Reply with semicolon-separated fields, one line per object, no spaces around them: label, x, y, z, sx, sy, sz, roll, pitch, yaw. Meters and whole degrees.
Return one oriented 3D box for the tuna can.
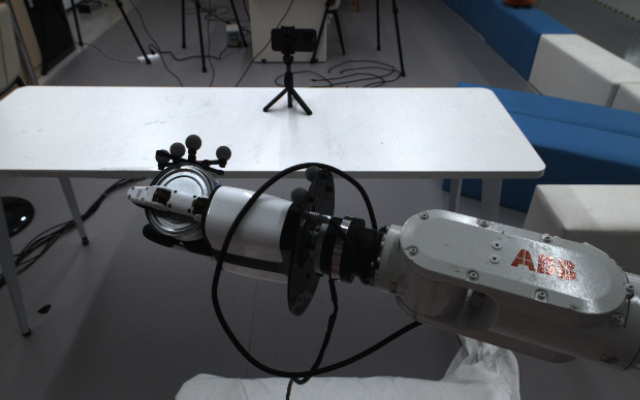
tuna can;-0.152;0.004;0.554;0.085;0.034;0.085;-4;72;14
